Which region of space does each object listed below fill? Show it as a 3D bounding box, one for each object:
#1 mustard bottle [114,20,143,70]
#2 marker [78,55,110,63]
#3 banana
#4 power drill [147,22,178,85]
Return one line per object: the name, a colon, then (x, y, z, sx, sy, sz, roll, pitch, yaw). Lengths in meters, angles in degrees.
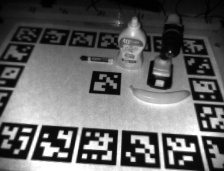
mustard bottle: (0.058, -0.139, 0.744, 0.096, 0.192, 0.058, 13, 53, 6)
marker: (-0.070, -0.102, 0.817, 0.121, 0.020, 0.019, 5, 53, 1)
banana: (0.140, 0.036, 0.715, 0.197, 0.039, 0.074, 9, 54, 6)
power drill: (0.159, -0.091, 0.693, 0.057, 0.188, 0.184, 16, 51, 8)
